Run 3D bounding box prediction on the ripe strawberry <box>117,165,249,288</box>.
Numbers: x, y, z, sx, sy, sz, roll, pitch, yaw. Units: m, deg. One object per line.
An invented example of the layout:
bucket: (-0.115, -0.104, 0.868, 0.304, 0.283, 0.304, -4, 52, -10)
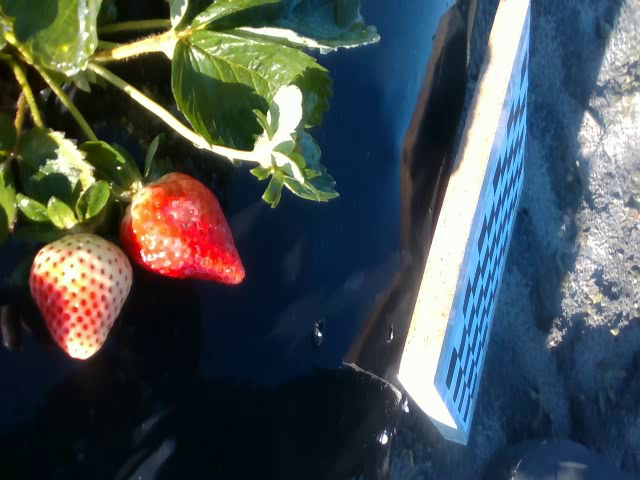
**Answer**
ripe strawberry: (-0.041, 0.000, 0.208, 0.055, 0.040, 0.037, 39, 8, 19)
